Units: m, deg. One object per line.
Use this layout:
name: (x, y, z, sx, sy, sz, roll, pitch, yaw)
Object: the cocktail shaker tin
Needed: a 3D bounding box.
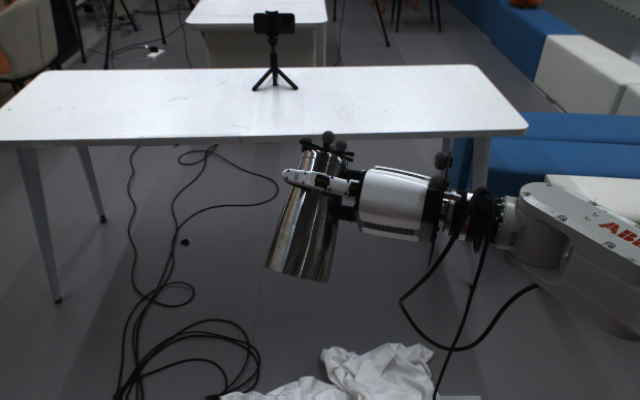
cocktail shaker tin: (-0.011, 0.019, 0.678, 0.093, 0.170, 0.093, 15, -5, 1)
